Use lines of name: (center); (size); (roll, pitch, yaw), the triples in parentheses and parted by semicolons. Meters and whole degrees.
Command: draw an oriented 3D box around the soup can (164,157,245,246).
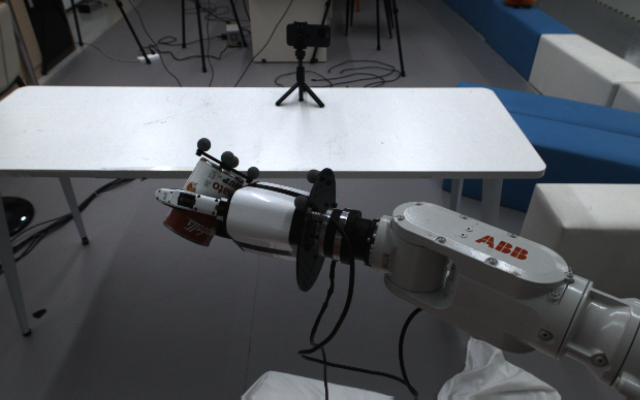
soup can: (-0.154, 0.003, 0.645); (0.067, 0.101, 0.067); (29, -3, 2)
